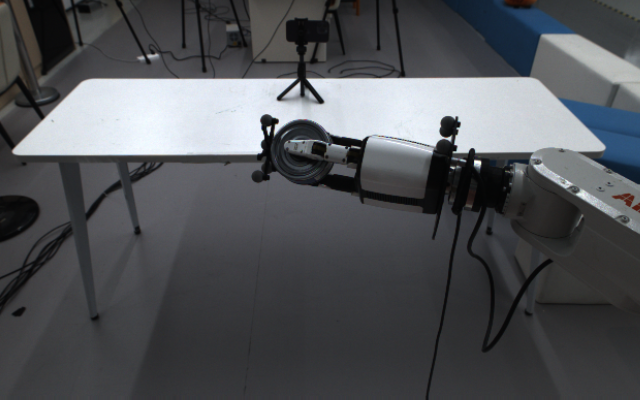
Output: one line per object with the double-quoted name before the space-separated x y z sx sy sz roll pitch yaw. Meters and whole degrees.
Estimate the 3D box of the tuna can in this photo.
"tuna can" -0.021 -0.067 0.661 0.085 0.085 0.034 9 -6 11
